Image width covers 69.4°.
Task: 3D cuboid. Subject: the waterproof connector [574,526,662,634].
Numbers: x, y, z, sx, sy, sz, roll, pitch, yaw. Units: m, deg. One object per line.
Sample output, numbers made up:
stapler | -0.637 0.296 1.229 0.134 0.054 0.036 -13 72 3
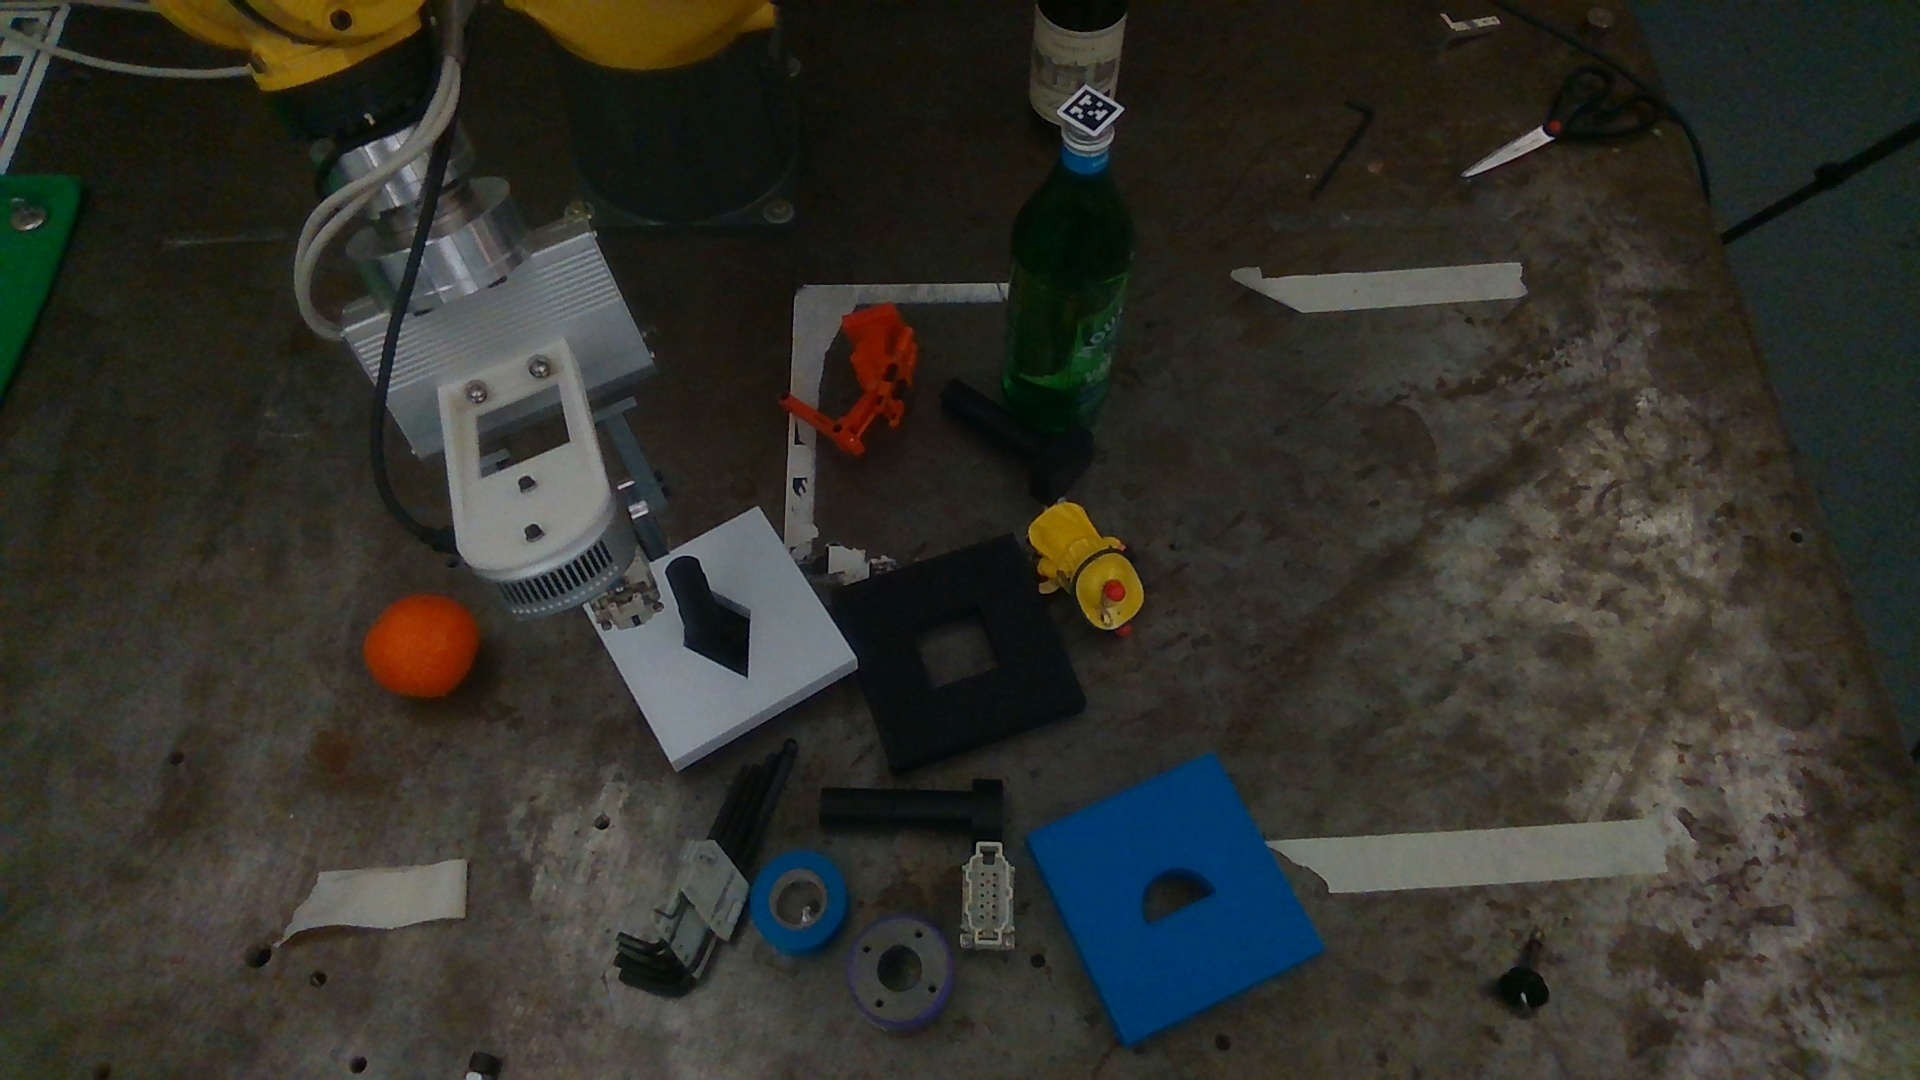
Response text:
waterproof connector | -0.180 0.022 0.736 0.036 0.038 0.069 -26 27 -9
